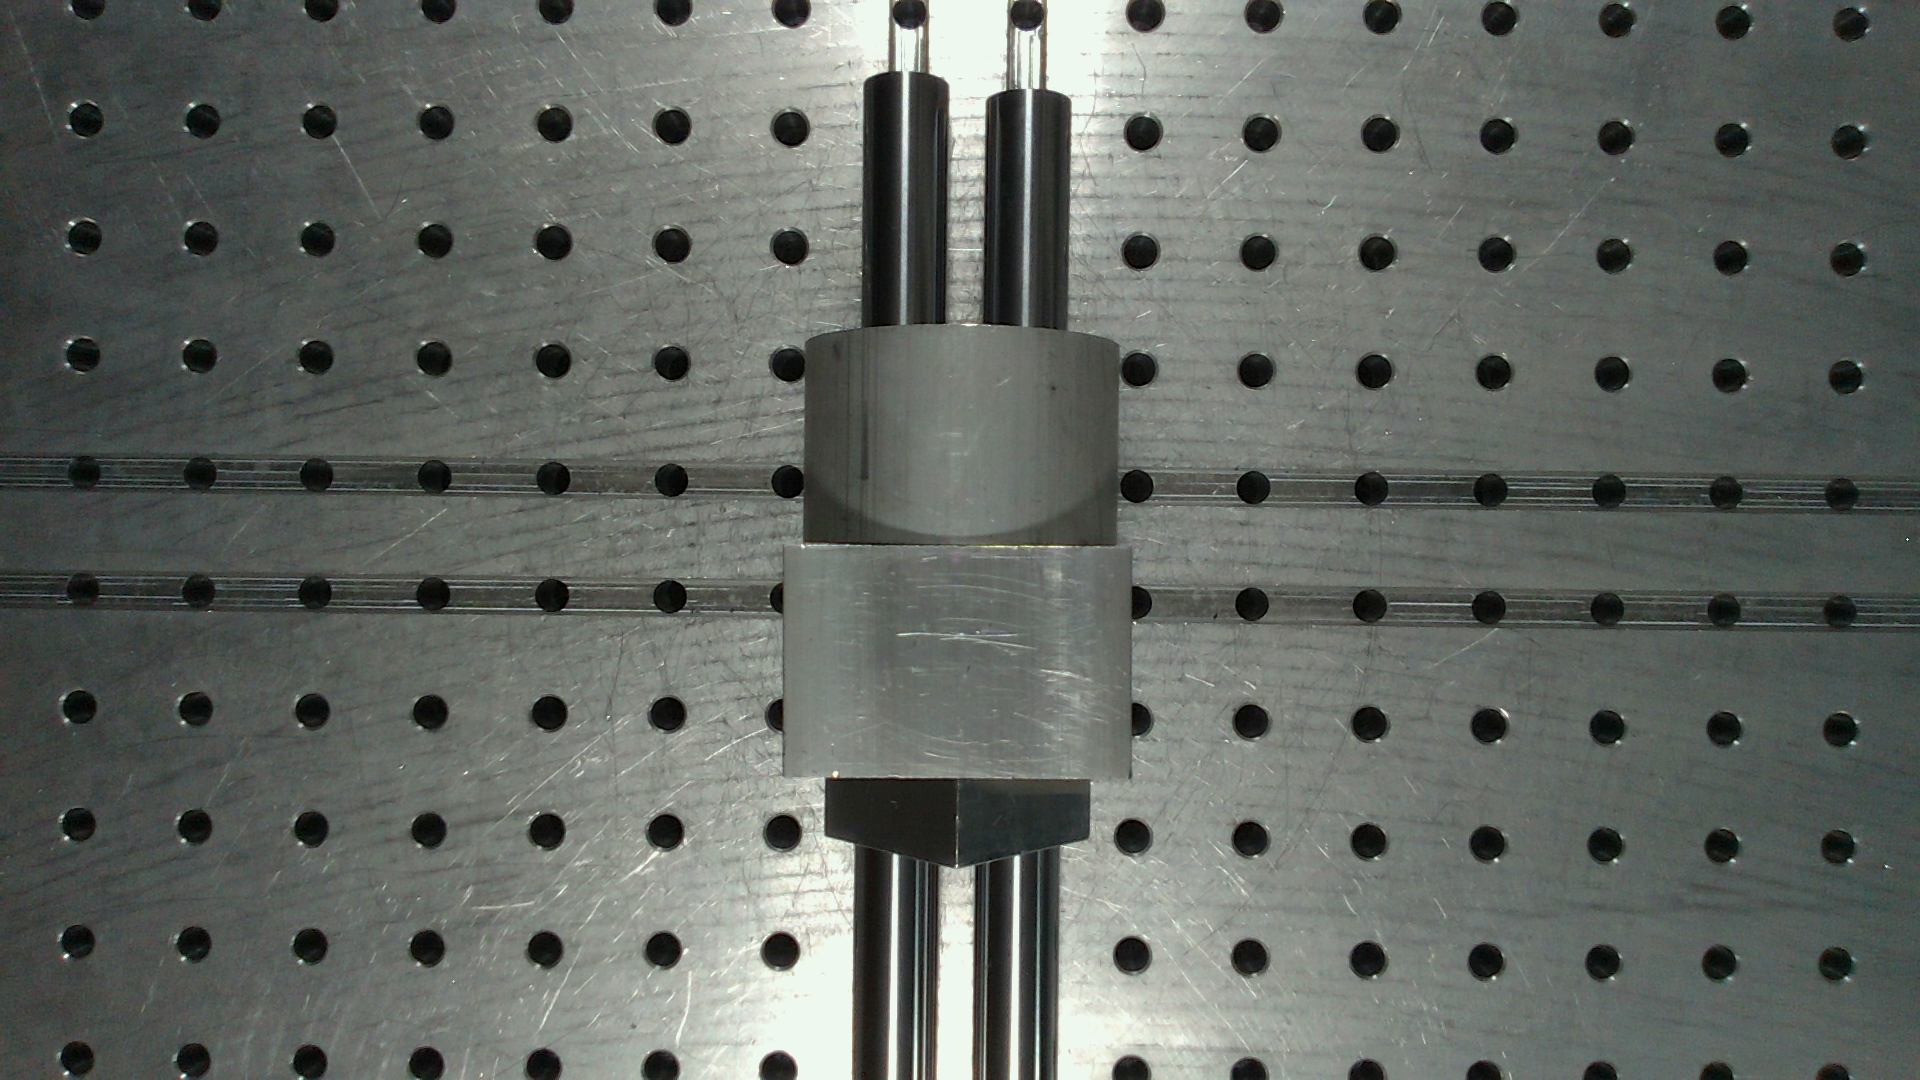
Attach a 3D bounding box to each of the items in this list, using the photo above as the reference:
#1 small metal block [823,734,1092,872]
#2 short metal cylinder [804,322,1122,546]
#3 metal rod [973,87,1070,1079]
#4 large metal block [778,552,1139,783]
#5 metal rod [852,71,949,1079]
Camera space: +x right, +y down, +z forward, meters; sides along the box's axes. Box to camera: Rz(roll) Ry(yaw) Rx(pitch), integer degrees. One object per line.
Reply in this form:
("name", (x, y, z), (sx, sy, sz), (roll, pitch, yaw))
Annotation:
("small metal block", (-0.001, 0.066, 0.363), (0.050, 0.050, 0.025), (0, 90, -45))
("short metal cylinder", (0.000, -0.024, 0.349), (0.080, 0.080, 0.050), (1, 90, 0))
("metal rod", (0.018, 0.023, 0.399), (0.025, 0.025, 0.300), (1, 90, 0))
("large metal block", (0.000, 0.029, 0.345), (0.080, 0.080, 0.050), (0, 90, 0))
("metal rod", (-0.017, 0.018, 0.399), (0.025, 0.025, 0.300), (1, 90, 0))
